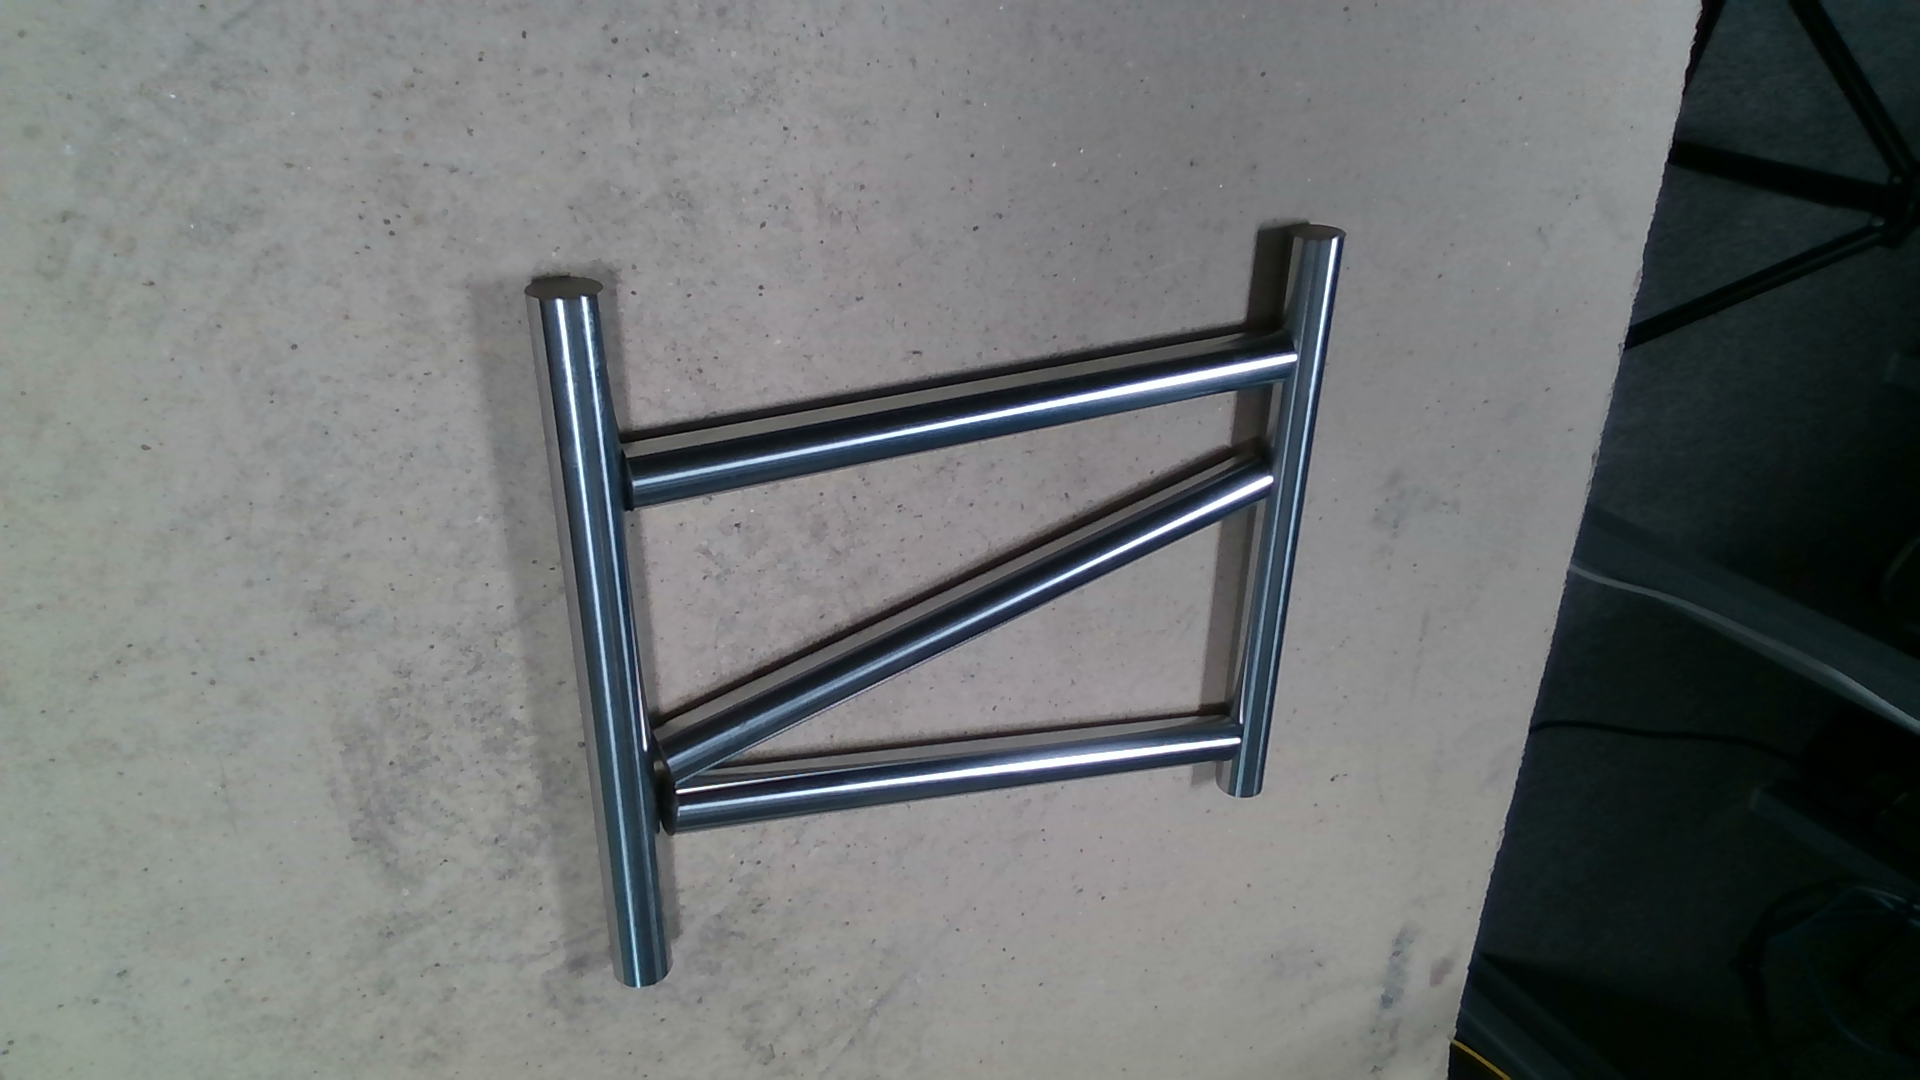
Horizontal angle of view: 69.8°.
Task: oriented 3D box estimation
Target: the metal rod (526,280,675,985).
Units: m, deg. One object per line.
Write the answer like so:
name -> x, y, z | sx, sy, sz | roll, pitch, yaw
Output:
metal rod -> -0.133, 0.051, 0.525 | 0.025, 0.025, 0.301 | -13, 121, -25

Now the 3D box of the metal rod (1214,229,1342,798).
metal rod -> 0.152, -0.001, 0.673 | 0.025, 0.025, 0.301 | -13, 121, -25

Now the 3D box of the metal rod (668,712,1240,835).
metal rod -> 0.009, 0.105, 0.642 | 0.300, 0.025, 0.025 | -1, 115, -31

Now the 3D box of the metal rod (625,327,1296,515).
metal rod -> 0.012, -0.052, 0.559 | 0.300, 0.025, 0.025 | -13, 121, -25

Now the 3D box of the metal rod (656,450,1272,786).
metal rod -> 0.010, 0.028, 0.601 | 0.300, 0.025, 0.025 | -25, 125, -19
